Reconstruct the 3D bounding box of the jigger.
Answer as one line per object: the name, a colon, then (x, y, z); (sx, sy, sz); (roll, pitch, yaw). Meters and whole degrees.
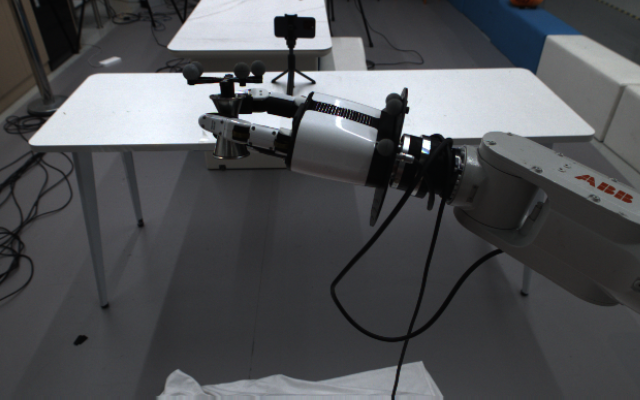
jigger: (-0.103, -0.083, 0.552); (0.043, 0.071, 0.043); (0, 21, 0)
